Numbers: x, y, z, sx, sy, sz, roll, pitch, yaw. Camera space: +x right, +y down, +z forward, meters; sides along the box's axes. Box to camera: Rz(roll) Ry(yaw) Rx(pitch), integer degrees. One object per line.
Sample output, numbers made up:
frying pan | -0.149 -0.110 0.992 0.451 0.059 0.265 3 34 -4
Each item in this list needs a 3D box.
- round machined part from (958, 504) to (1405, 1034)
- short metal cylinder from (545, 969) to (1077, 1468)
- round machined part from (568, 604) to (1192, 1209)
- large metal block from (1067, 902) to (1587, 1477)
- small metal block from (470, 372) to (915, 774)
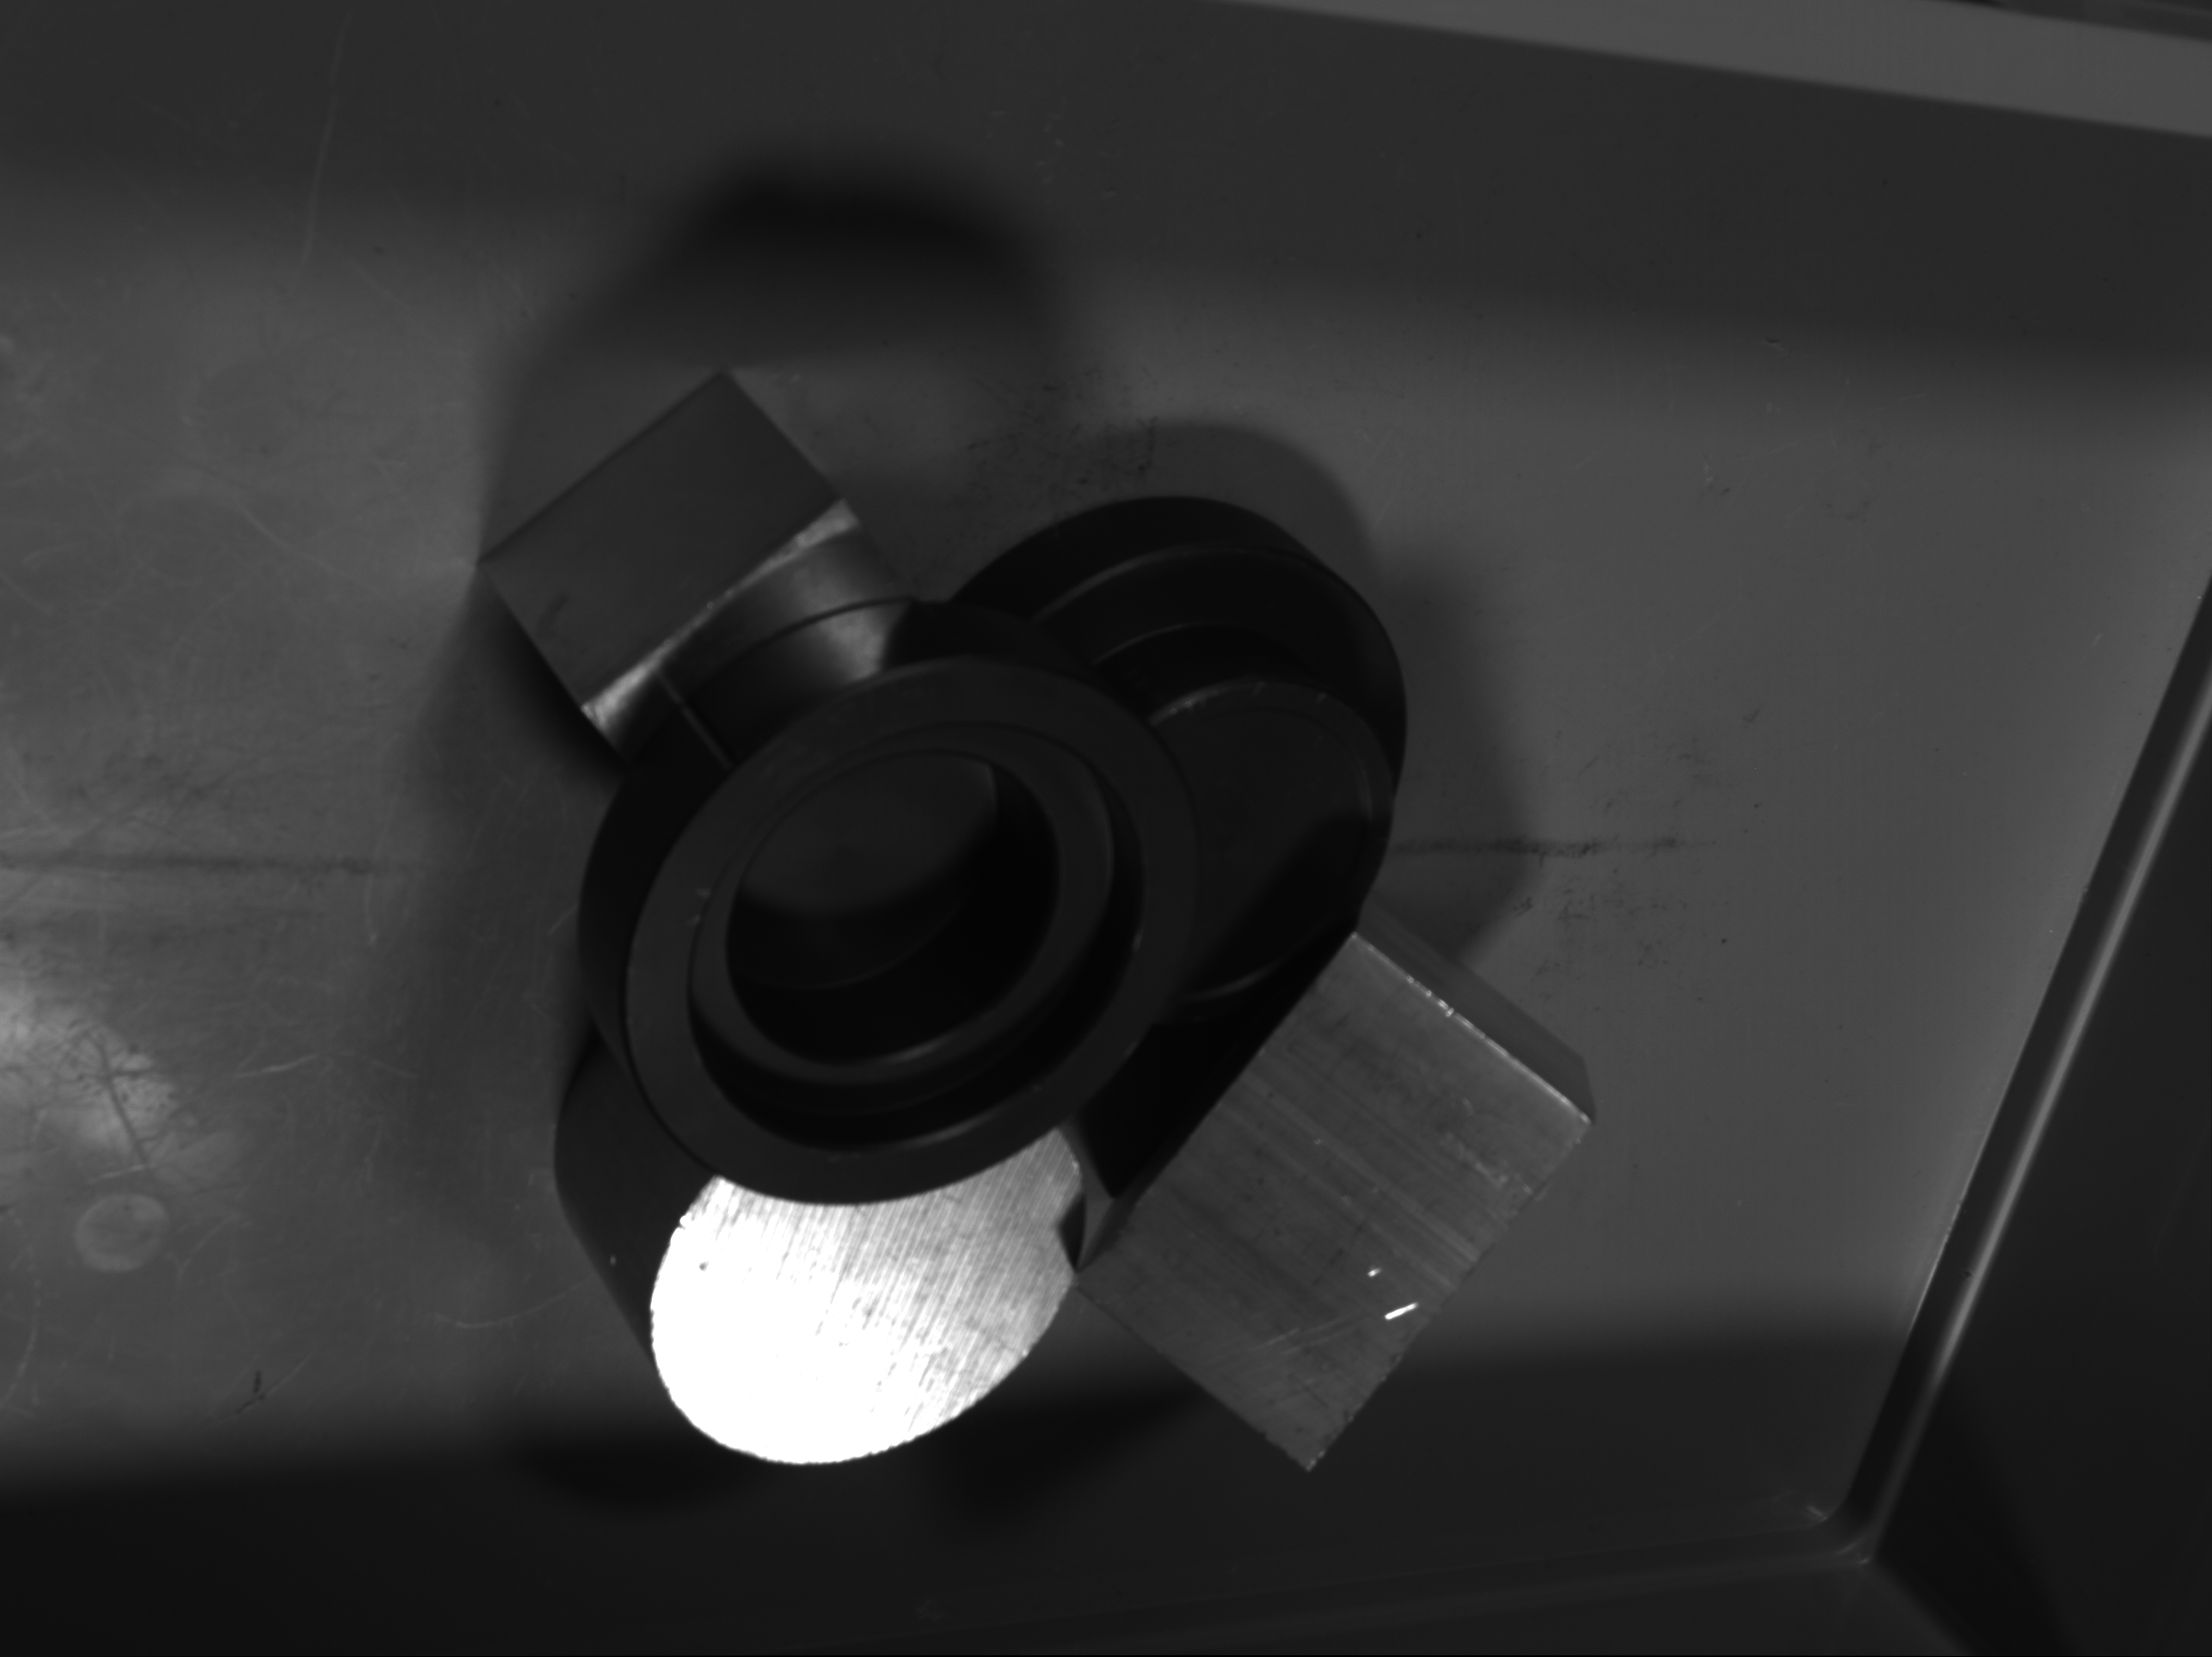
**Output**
round machined part | 0.010 -0.004 0.640 0.098 0.042 0.098 -15 125 -22
short metal cylinder | -0.052 0.064 0.642 0.080 0.050 0.080 -15 125 -22
round machined part | -0.039 0.008 0.582 0.098 0.042 0.098 -15 125 -22
large metal block | 0.041 0.062 0.667 0.050 0.080 0.080 38 96 1
small metal block | -0.065 -0.037 0.571 0.050 0.050 0.025 -39 130 -3
